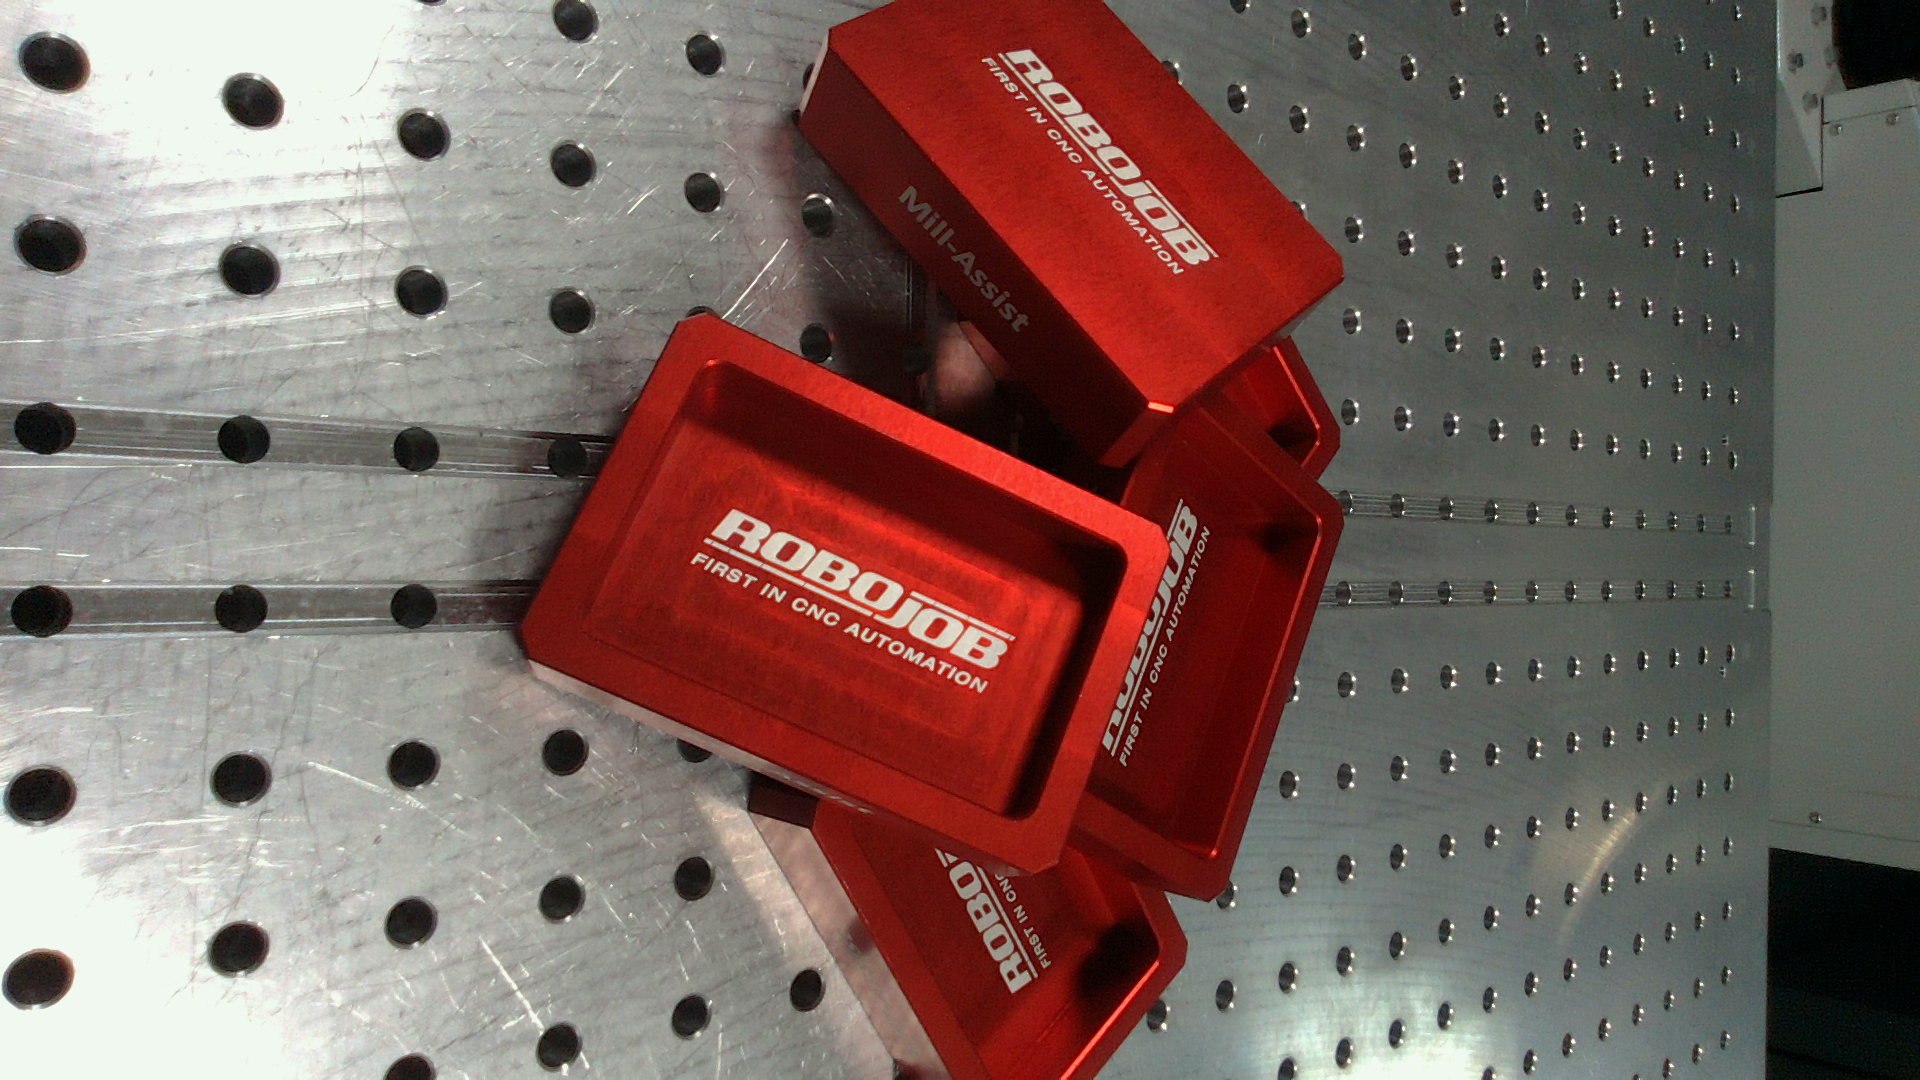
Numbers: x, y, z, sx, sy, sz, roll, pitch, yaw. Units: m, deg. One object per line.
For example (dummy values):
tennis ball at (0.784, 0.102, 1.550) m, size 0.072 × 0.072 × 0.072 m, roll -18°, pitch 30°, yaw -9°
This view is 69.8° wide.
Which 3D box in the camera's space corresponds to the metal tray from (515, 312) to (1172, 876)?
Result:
metal tray at (-0.025, 0.014, 0.328) m, size 0.130 × 0.030 × 0.090 m, roll 24°, pitch 72°, yaw -6°

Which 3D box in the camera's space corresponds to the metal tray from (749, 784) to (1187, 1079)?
metal tray at (0.008, 0.098, 0.395) m, size 0.090 × 0.030 × 0.130 m, roll -40°, pitch 114°, yaw -33°

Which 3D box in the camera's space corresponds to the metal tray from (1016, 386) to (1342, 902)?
metal tray at (0.058, 0.026, 0.398) m, size 0.090 × 0.030 × 0.130 m, roll 35°, pitch 68°, yaw -34°

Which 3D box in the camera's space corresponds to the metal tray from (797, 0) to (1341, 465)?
metal tray at (0.031, -0.094, 0.375) m, size 0.090 × 0.030 × 0.130 m, roll -38°, pitch 83°, yaw -34°

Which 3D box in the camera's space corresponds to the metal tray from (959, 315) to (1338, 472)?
metal tray at (0.066, -0.052, 0.443) m, size 0.090 × 0.030 × 0.130 m, roll -51°, pitch 120°, yaw -28°
